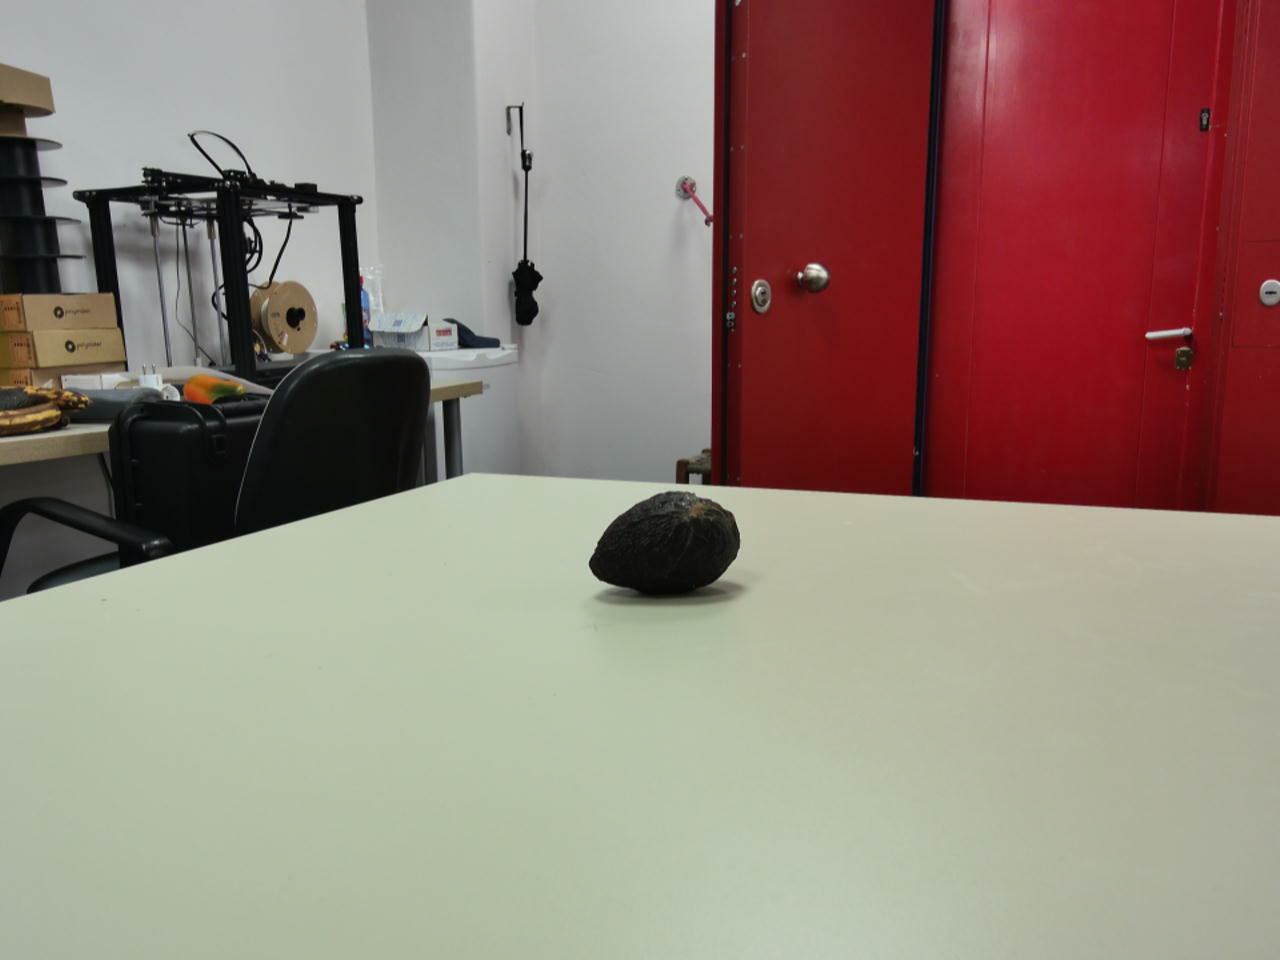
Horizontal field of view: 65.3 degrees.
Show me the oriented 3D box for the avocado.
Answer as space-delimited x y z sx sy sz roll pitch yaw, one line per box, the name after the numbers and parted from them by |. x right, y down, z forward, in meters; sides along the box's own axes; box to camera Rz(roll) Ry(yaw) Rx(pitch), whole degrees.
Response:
0.016 0.038 0.614 0.092 0.062 0.062 0 7 -1 | avocado
